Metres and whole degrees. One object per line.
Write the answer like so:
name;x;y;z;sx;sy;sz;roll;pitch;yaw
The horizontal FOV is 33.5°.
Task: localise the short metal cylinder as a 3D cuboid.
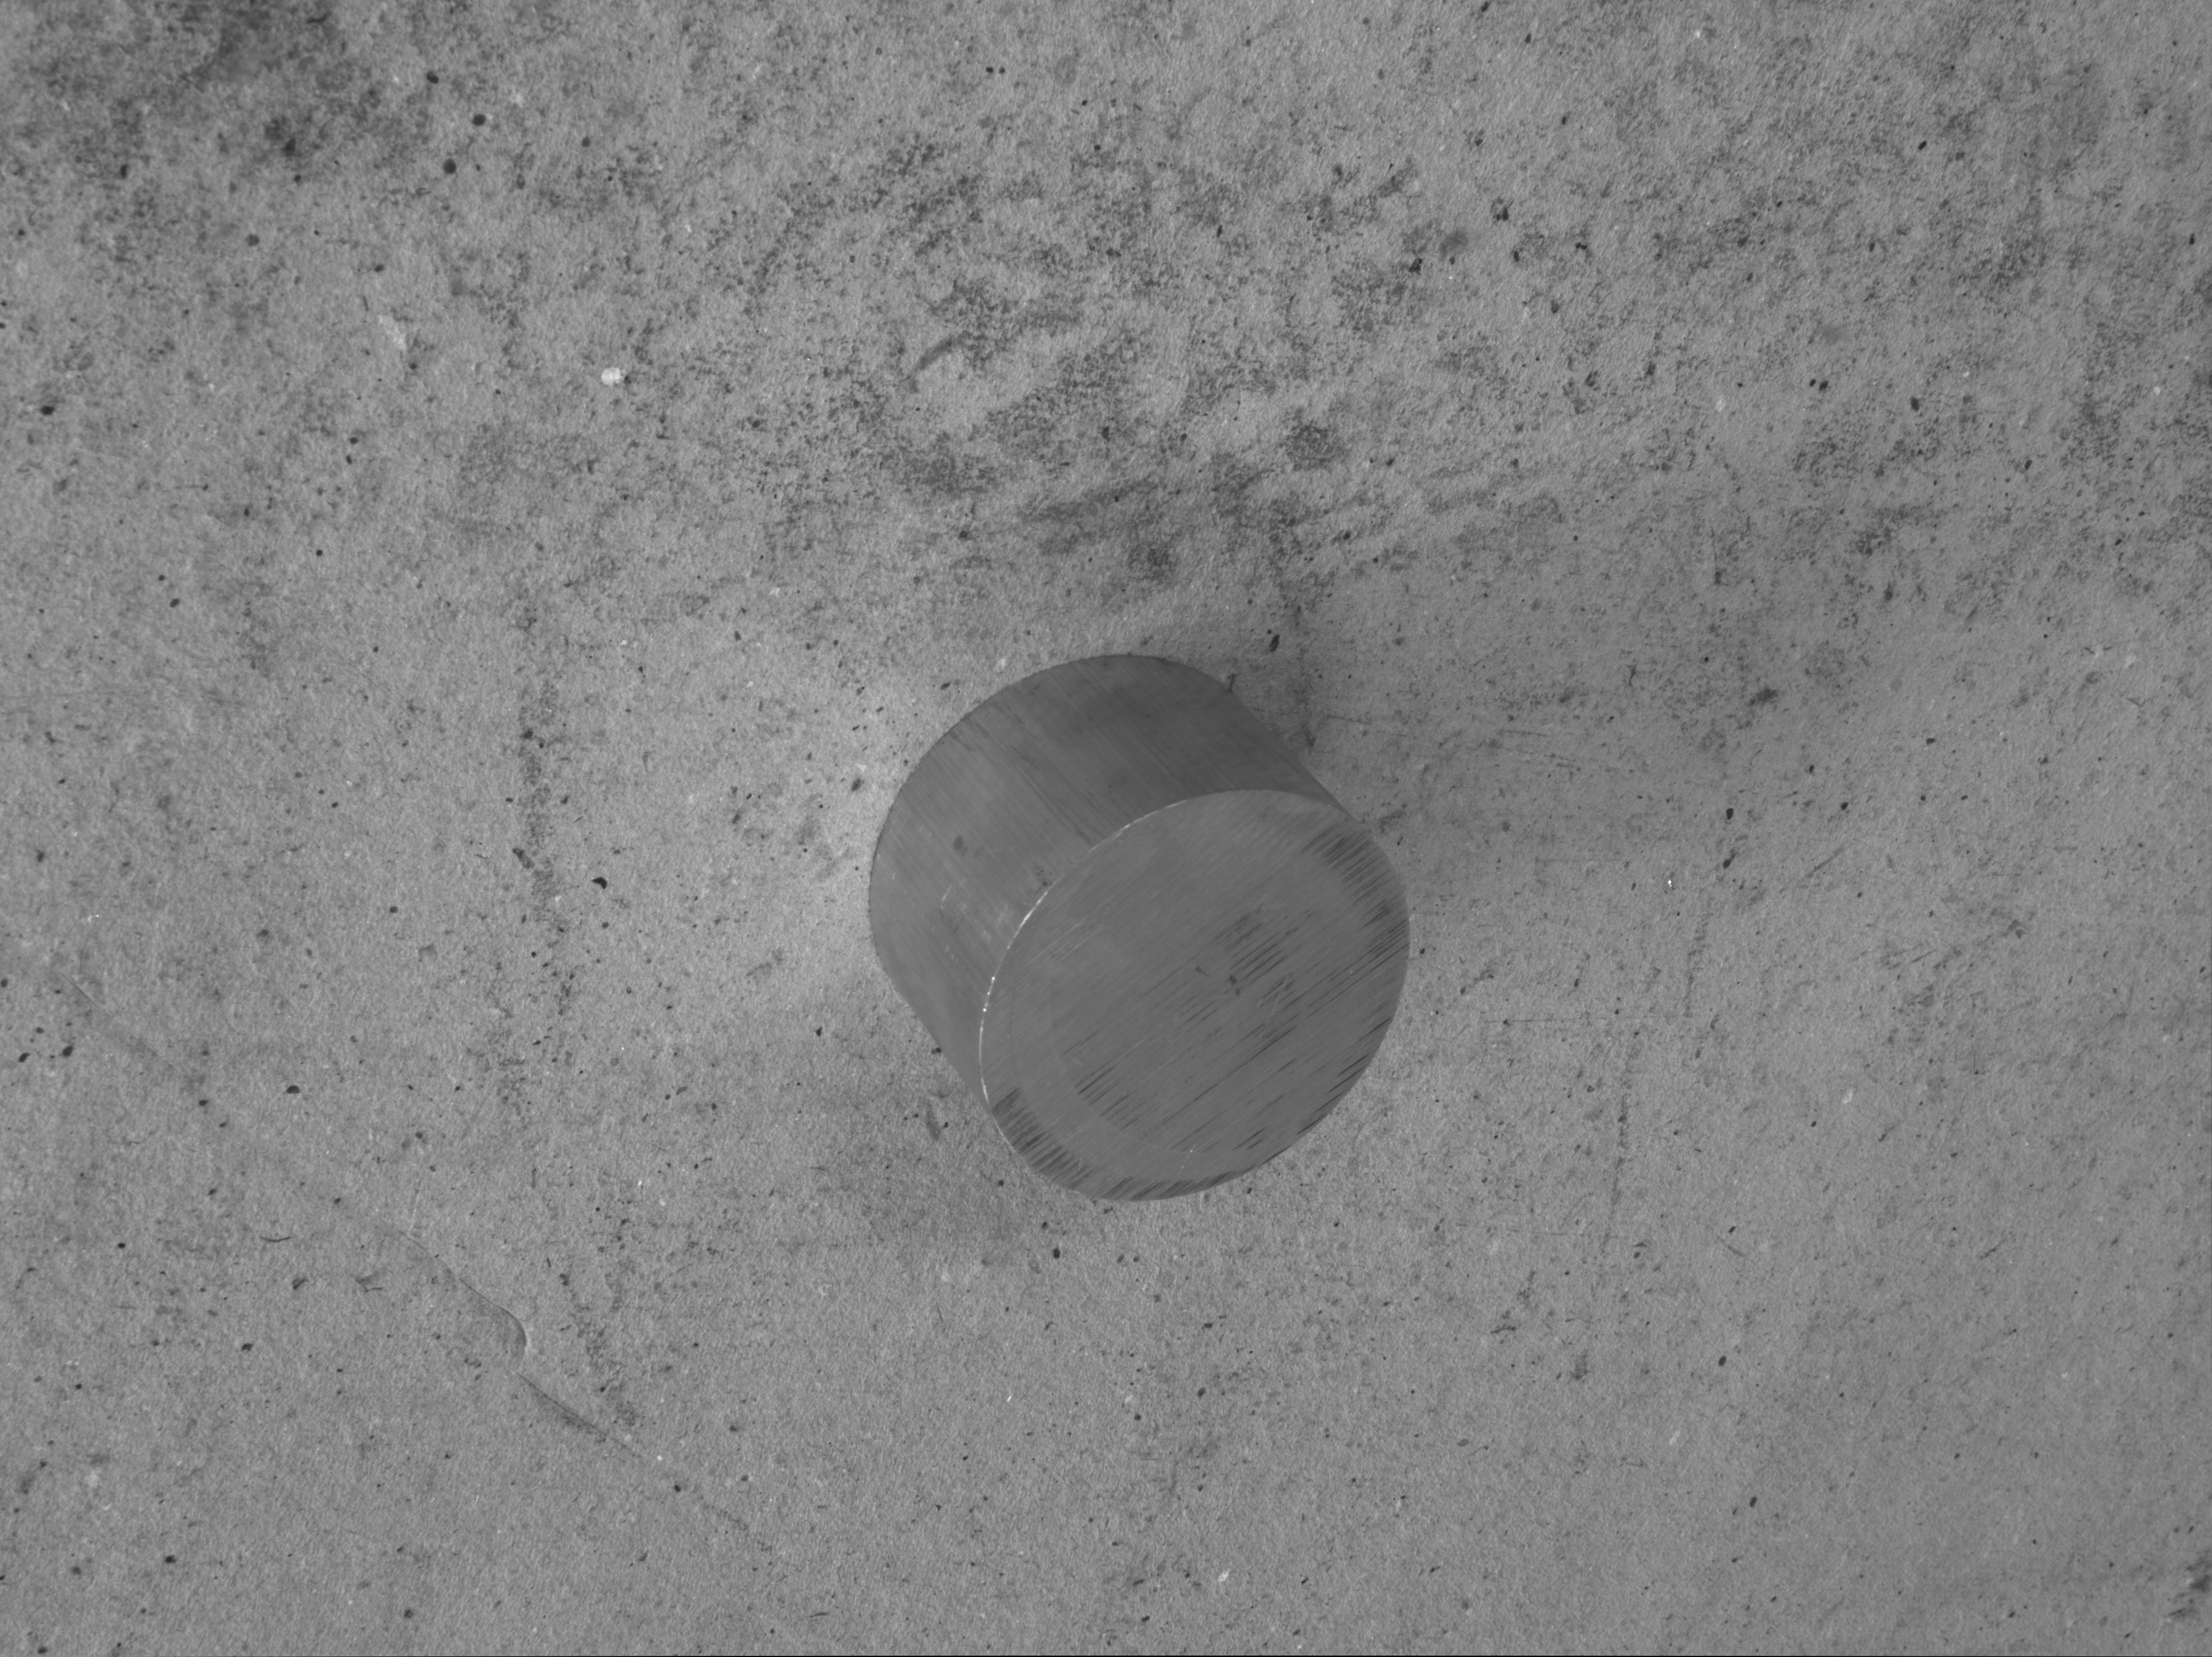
short metal cylinder;0.005;0.017;0.635;0.080;0.050;0.080;-14;124;-21
